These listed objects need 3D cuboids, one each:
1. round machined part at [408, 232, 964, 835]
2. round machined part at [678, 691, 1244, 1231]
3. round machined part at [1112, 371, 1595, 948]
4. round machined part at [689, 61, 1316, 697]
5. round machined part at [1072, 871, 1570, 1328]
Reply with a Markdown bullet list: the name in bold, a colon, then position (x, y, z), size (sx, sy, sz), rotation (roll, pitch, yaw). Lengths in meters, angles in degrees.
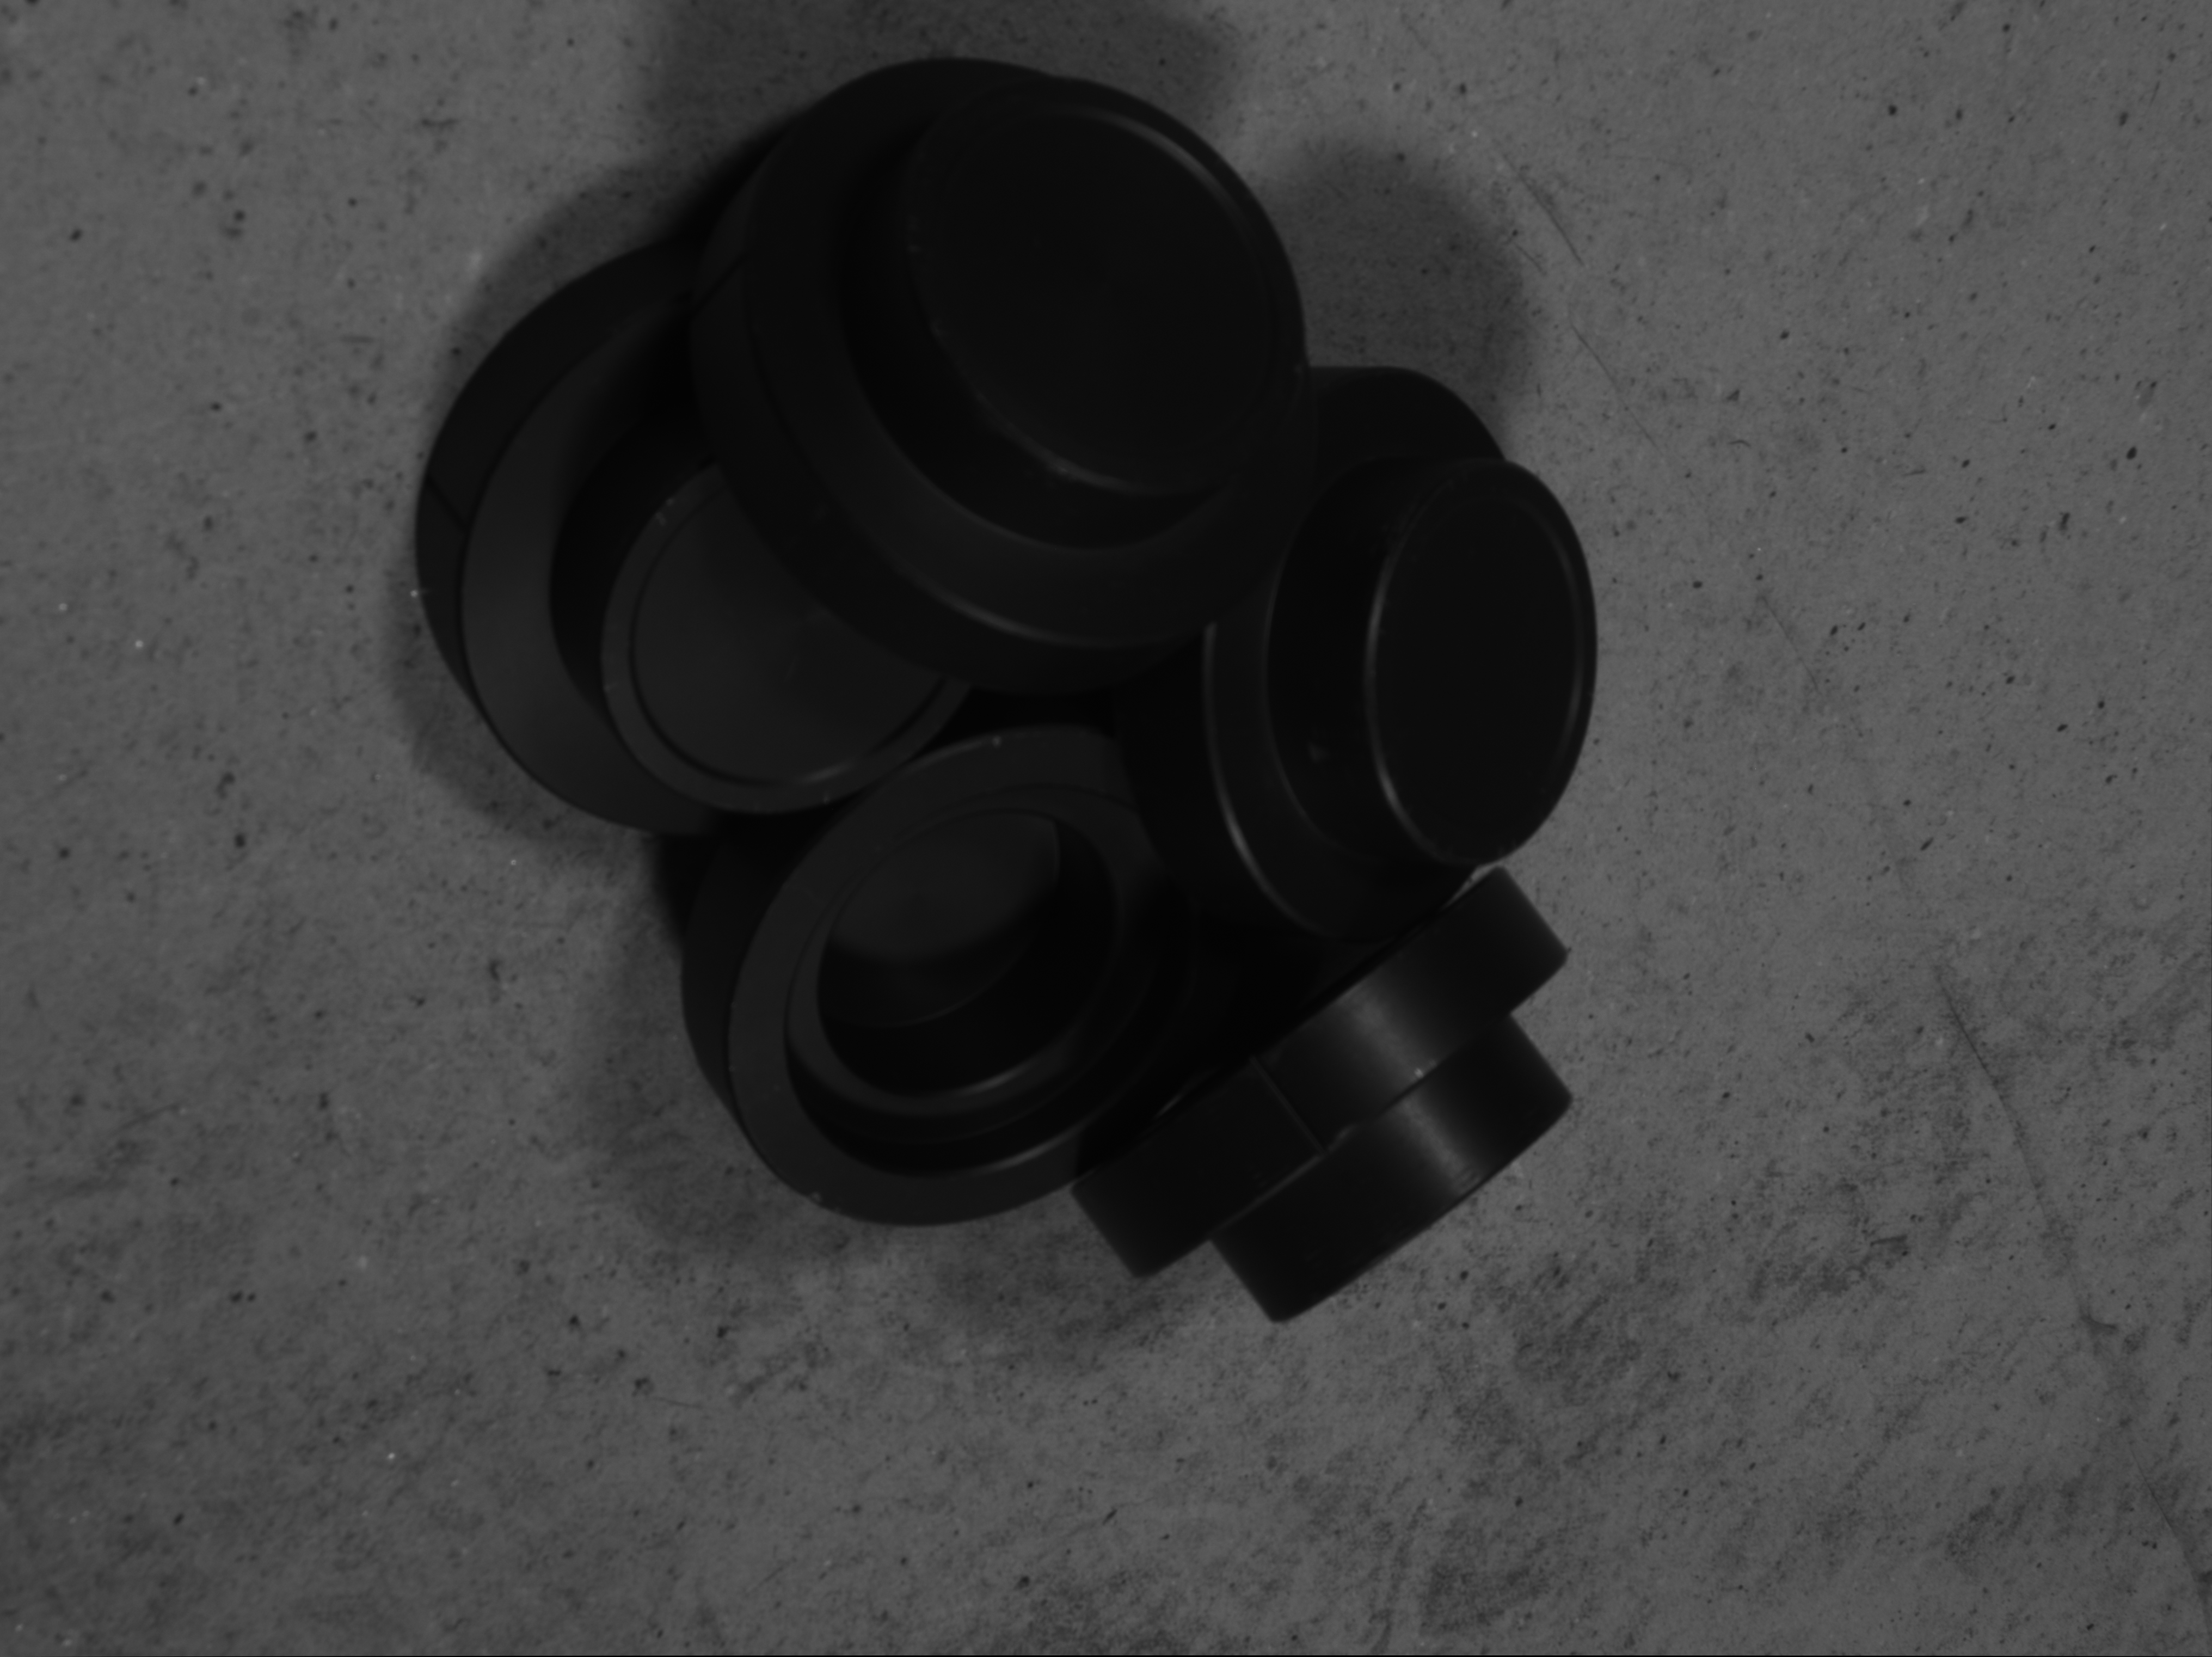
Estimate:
- **round machined part**: position (-0.057, -0.042, 0.582), size (0.098, 0.042, 0.098), rotation (-15, 125, -22)
- **round machined part**: position (-0.028, 0.018, 0.634), size (0.098, 0.042, 0.098), rotation (-15, 125, -22)
- **round machined part**: position (0.047, -0.028, 0.622), size (0.098, 0.042, 0.098), rotation (-8, 101, -50)
- **round machined part**: position (-0.009, -0.073, 0.551), size (0.098, 0.098, 0.042), rotation (1, 159, -31)
- **round machined part**: position (0.045, 0.053, 0.663), size (0.098, 0.098, 0.042), rotation (-37, 89, -5)
